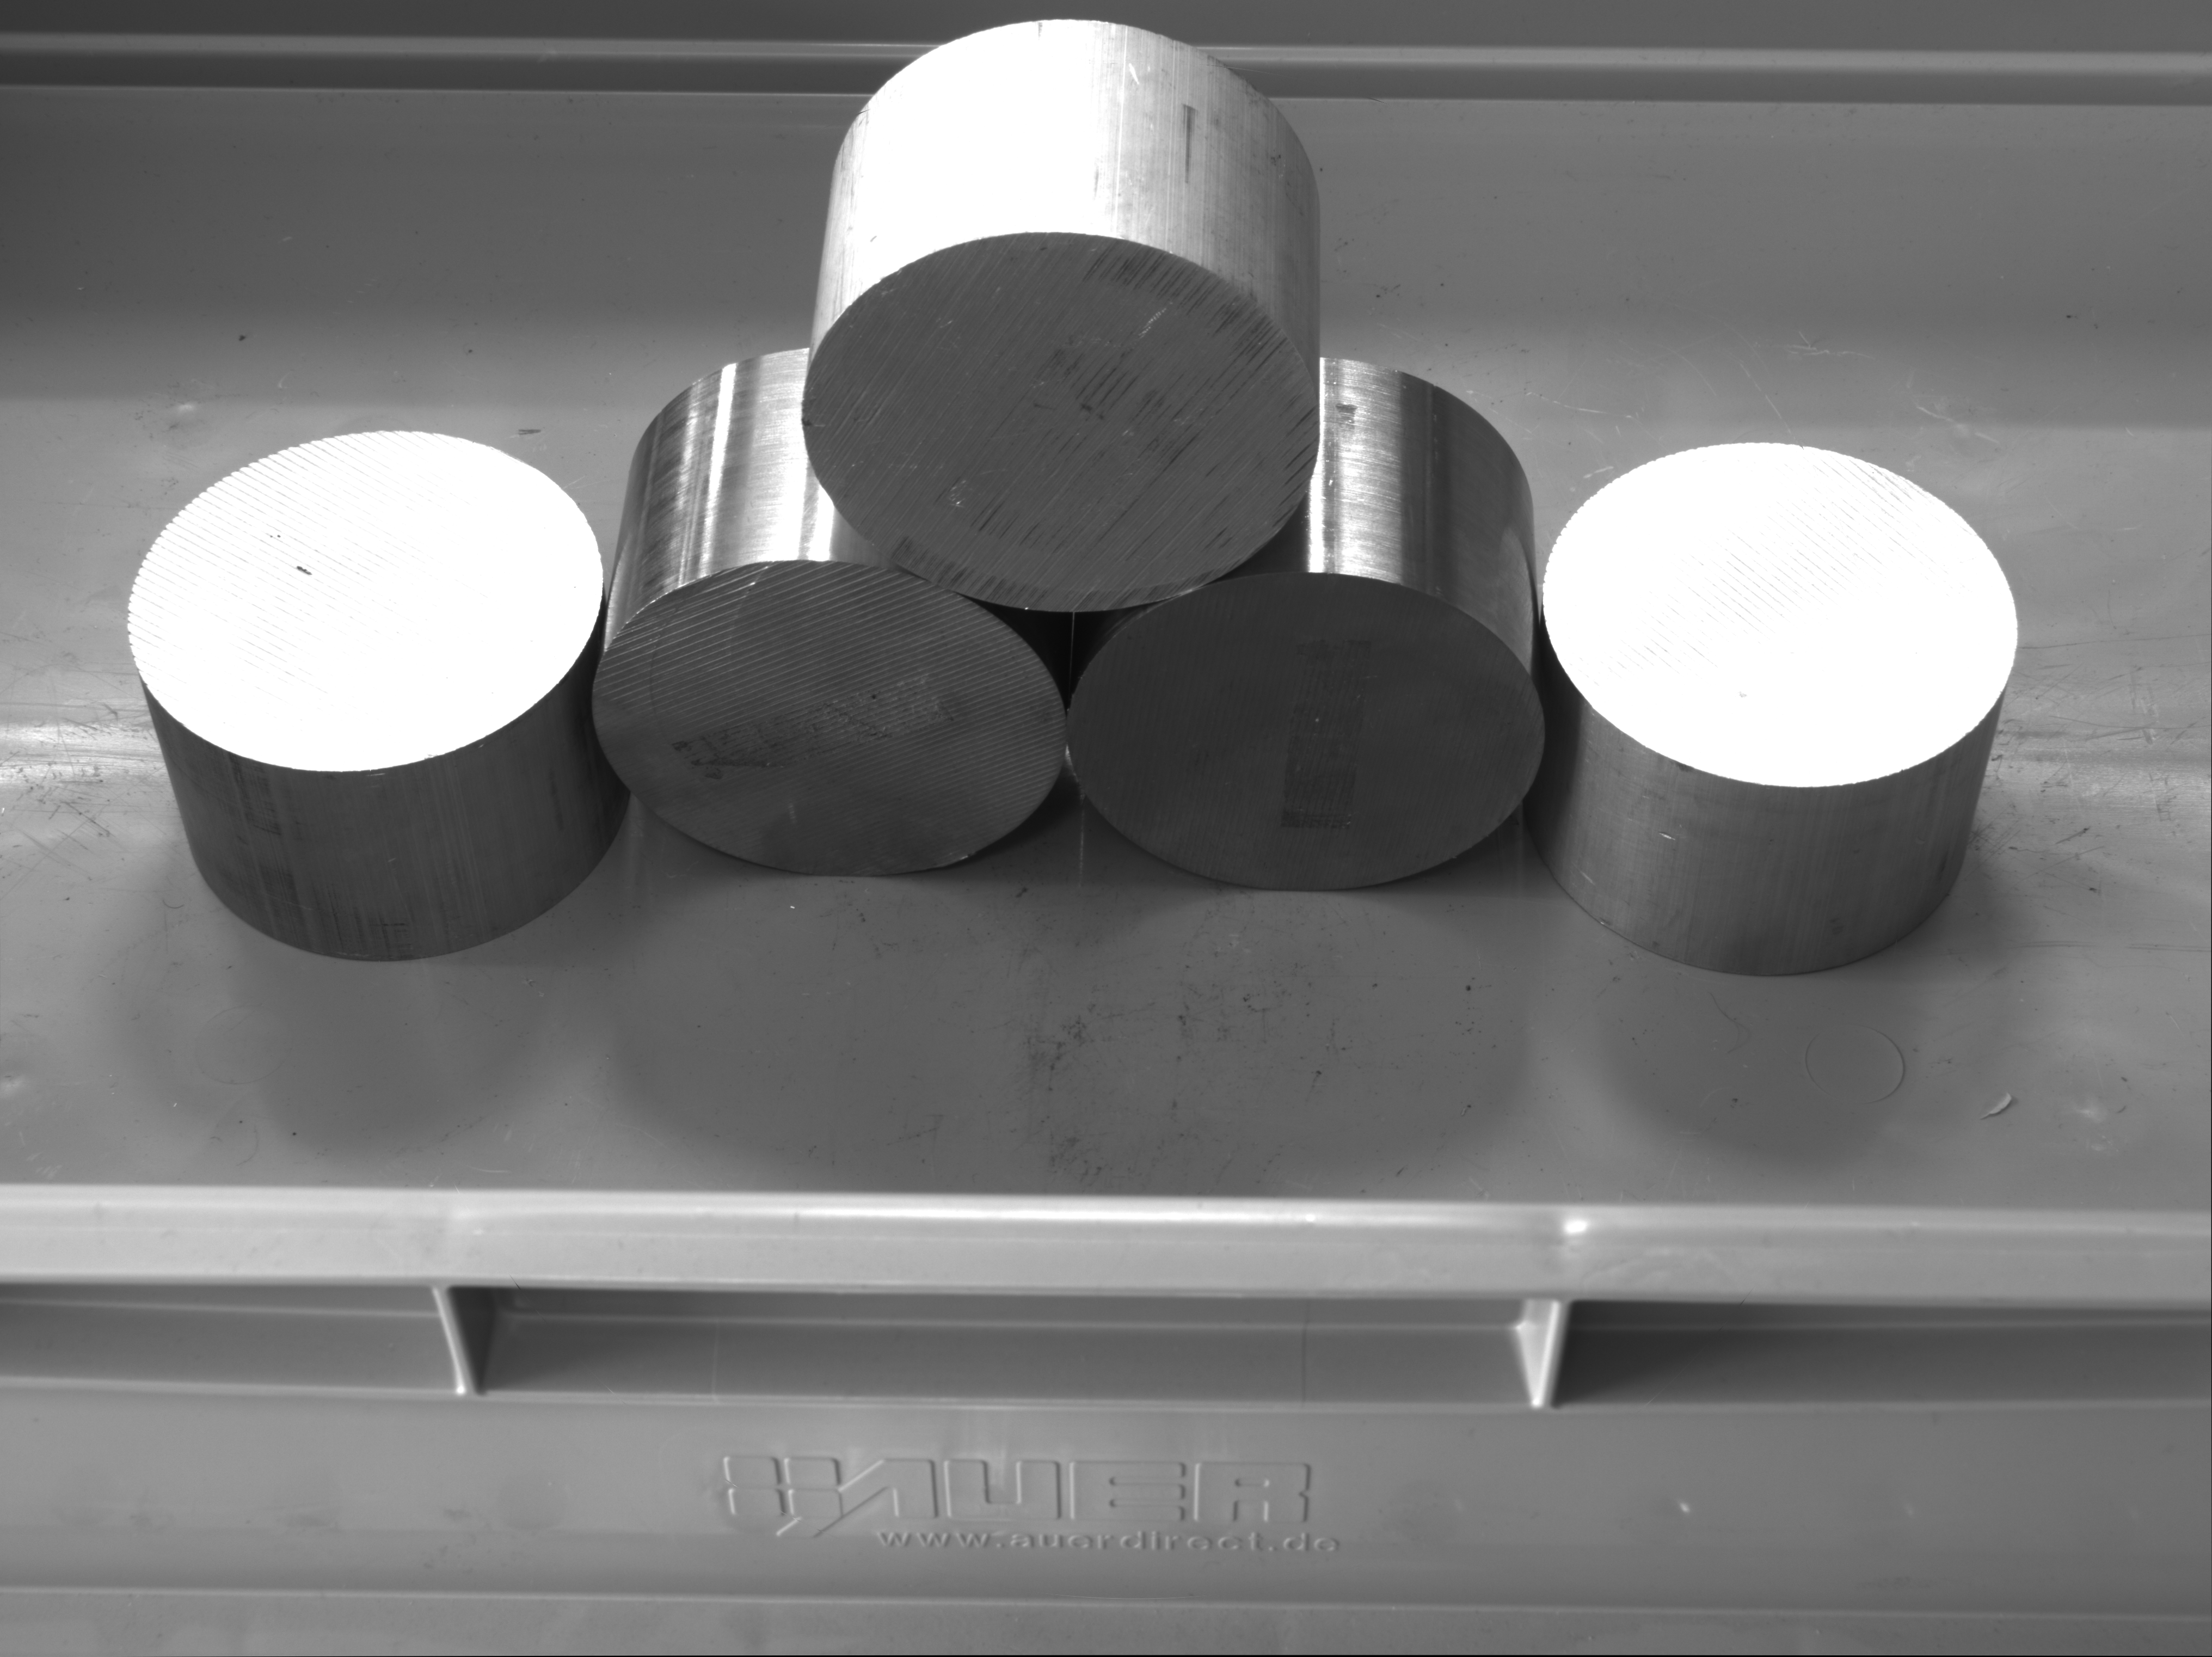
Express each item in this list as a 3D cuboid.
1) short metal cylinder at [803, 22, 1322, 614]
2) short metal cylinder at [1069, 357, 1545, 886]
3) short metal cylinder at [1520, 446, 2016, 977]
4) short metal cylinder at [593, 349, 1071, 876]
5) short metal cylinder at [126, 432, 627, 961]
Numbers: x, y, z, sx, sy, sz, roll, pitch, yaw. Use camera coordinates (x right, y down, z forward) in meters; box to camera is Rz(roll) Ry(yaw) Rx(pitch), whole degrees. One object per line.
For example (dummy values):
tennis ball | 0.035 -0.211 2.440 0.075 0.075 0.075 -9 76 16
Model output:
short metal cylinder | -0.006 -0.080 0.582 0.080 0.080 0.050 1 50 1
short metal cylinder | 0.035 -0.035 0.633 0.080 0.080 0.050 1 50 1
short metal cylinder | 0.114 -0.021 0.642 0.080 0.050 0.080 0 50 0
short metal cylinder | -0.046 -0.037 0.635 0.080 0.080 0.050 1 50 1
short metal cylinder | -0.126 -0.024 0.644 0.080 0.050 0.080 0 50 0
